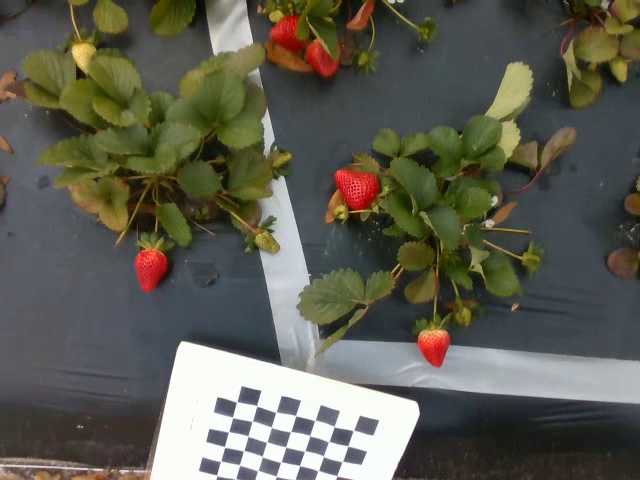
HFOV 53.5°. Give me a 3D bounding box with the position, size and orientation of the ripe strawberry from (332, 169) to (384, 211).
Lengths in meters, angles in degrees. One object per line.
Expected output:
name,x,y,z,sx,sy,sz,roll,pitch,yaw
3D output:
ripe strawberry,0.039,-0.058,0.670,0.062,0.043,0.043,37,26,-7

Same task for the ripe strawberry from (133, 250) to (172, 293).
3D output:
ripe strawberry,-0.165,0.028,0.618,0.036,0.046,0.040,7,-20,9

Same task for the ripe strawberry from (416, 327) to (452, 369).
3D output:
ripe strawberry,0.124,0.110,0.686,0.039,0.047,0.041,-13,17,17
